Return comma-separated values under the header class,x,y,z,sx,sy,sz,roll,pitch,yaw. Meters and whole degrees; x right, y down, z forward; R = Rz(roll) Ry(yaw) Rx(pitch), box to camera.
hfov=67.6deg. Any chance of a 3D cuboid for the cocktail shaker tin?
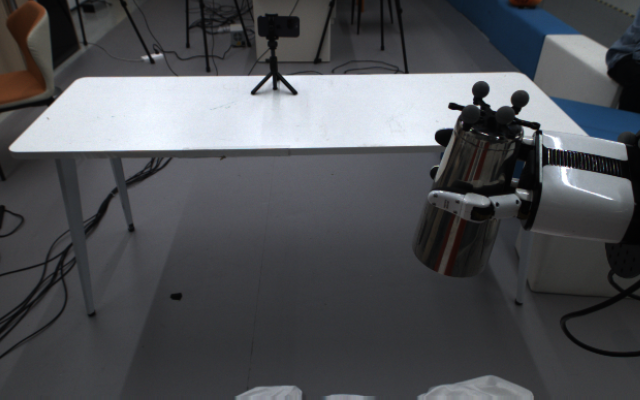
class,x,y,z,sx,sy,sz,roll,pitch,yaw
cocktail shaker tin,0.167,-0.009,0.536,0.093,0.170,0.093,4,36,-3
